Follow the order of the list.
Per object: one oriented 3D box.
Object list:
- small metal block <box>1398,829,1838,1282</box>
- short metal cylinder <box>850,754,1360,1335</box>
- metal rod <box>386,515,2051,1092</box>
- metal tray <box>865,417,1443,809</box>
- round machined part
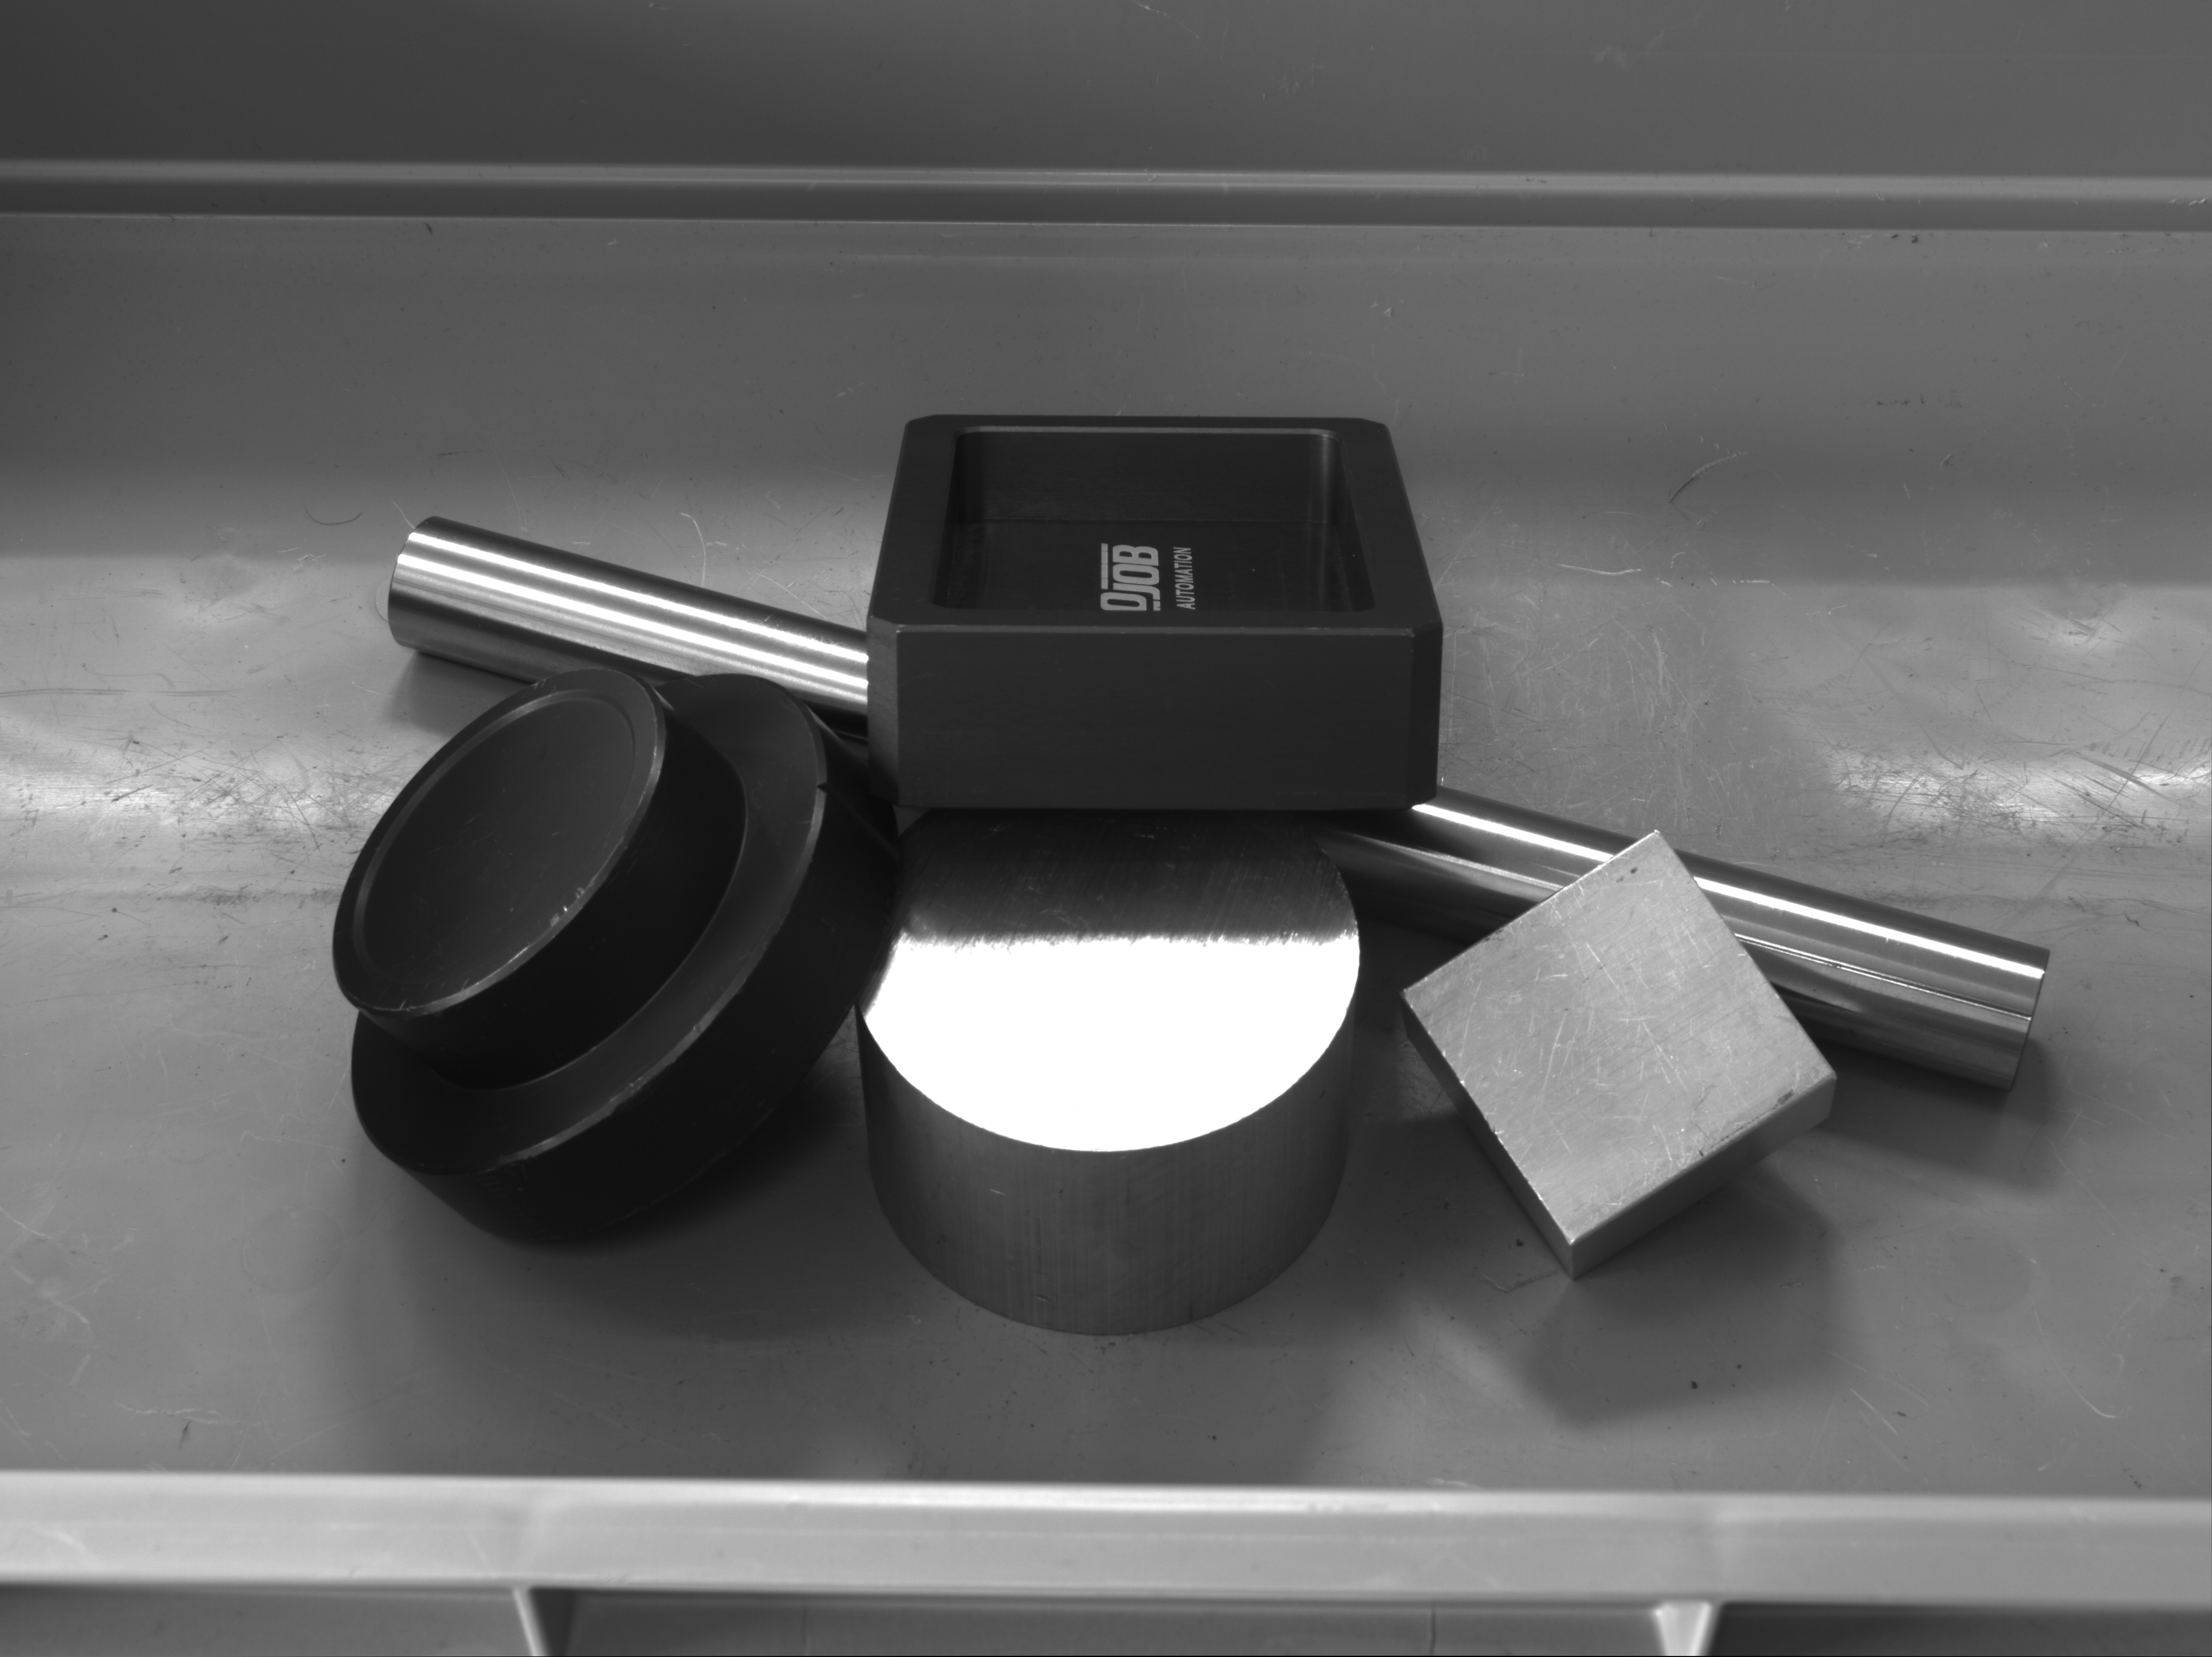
[{"bbox_3d":[0.082,0.037,0.595,0.050,0.025,0.050,-32,71,-5],"label":"small metal block"},{"bbox_3d":[0.000,0.034,0.595,0.080,0.050,0.080,0,50,0],"label":"short metal cylinder"},{"bbox_3d":[0.014,-0.007,0.647,0.300,0.025,0.025,15,52,13],"label":"metal rod"},{"bbox_3d":[0.007,-0.040,0.633,0.090,0.030,0.130,0,21,0],"label":"metal tray"},{"bbox_3d":[-0.084,0.013,0.588,0.098,0.042,0.098,-25,39,22],"label":"round machined part"}]
